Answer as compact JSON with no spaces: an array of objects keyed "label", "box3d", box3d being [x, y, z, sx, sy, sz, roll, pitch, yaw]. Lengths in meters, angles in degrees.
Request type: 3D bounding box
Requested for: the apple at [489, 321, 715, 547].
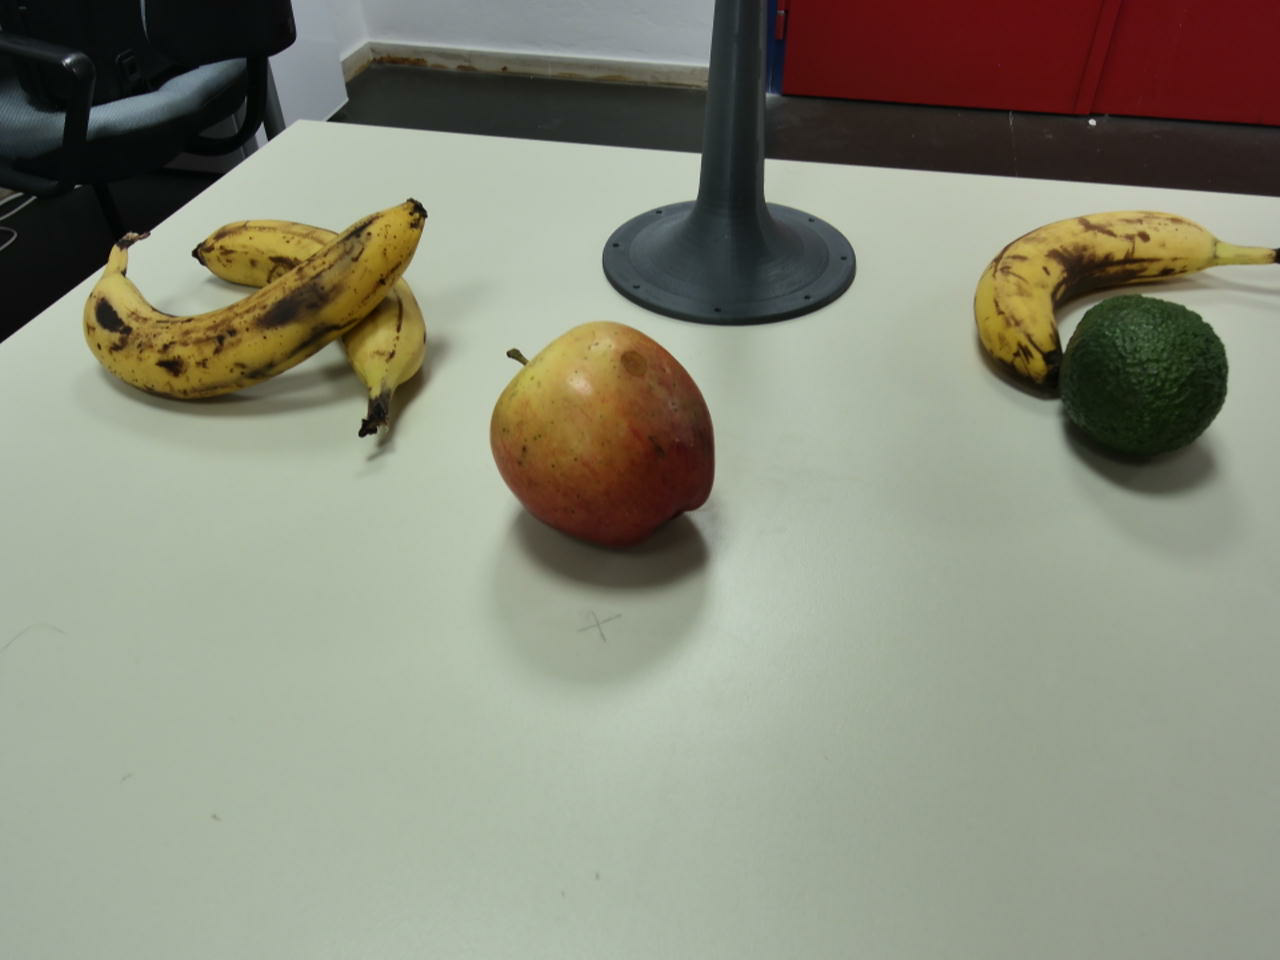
[{"label":"apple","box3d":[-0.016,-0.019,0.402,0.086,0.084,0.093,-16,40,-17]}]
